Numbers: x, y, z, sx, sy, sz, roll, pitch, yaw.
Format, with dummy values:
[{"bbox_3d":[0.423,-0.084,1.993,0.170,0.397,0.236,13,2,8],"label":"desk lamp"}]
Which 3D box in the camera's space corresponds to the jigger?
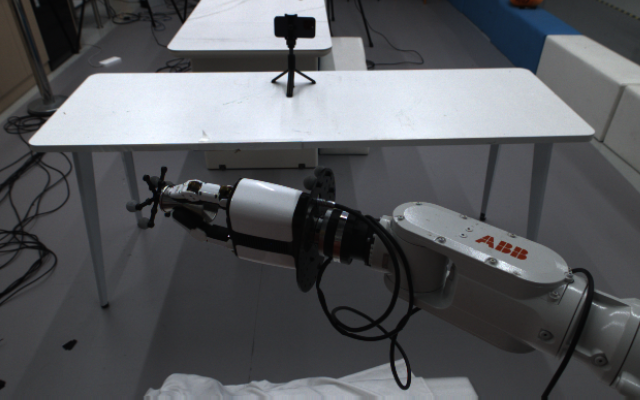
[{"bbox_3d":[-0.174,0.000,0.663,0.071,0.043,0.043,10,35,16],"label":"jigger"}]
